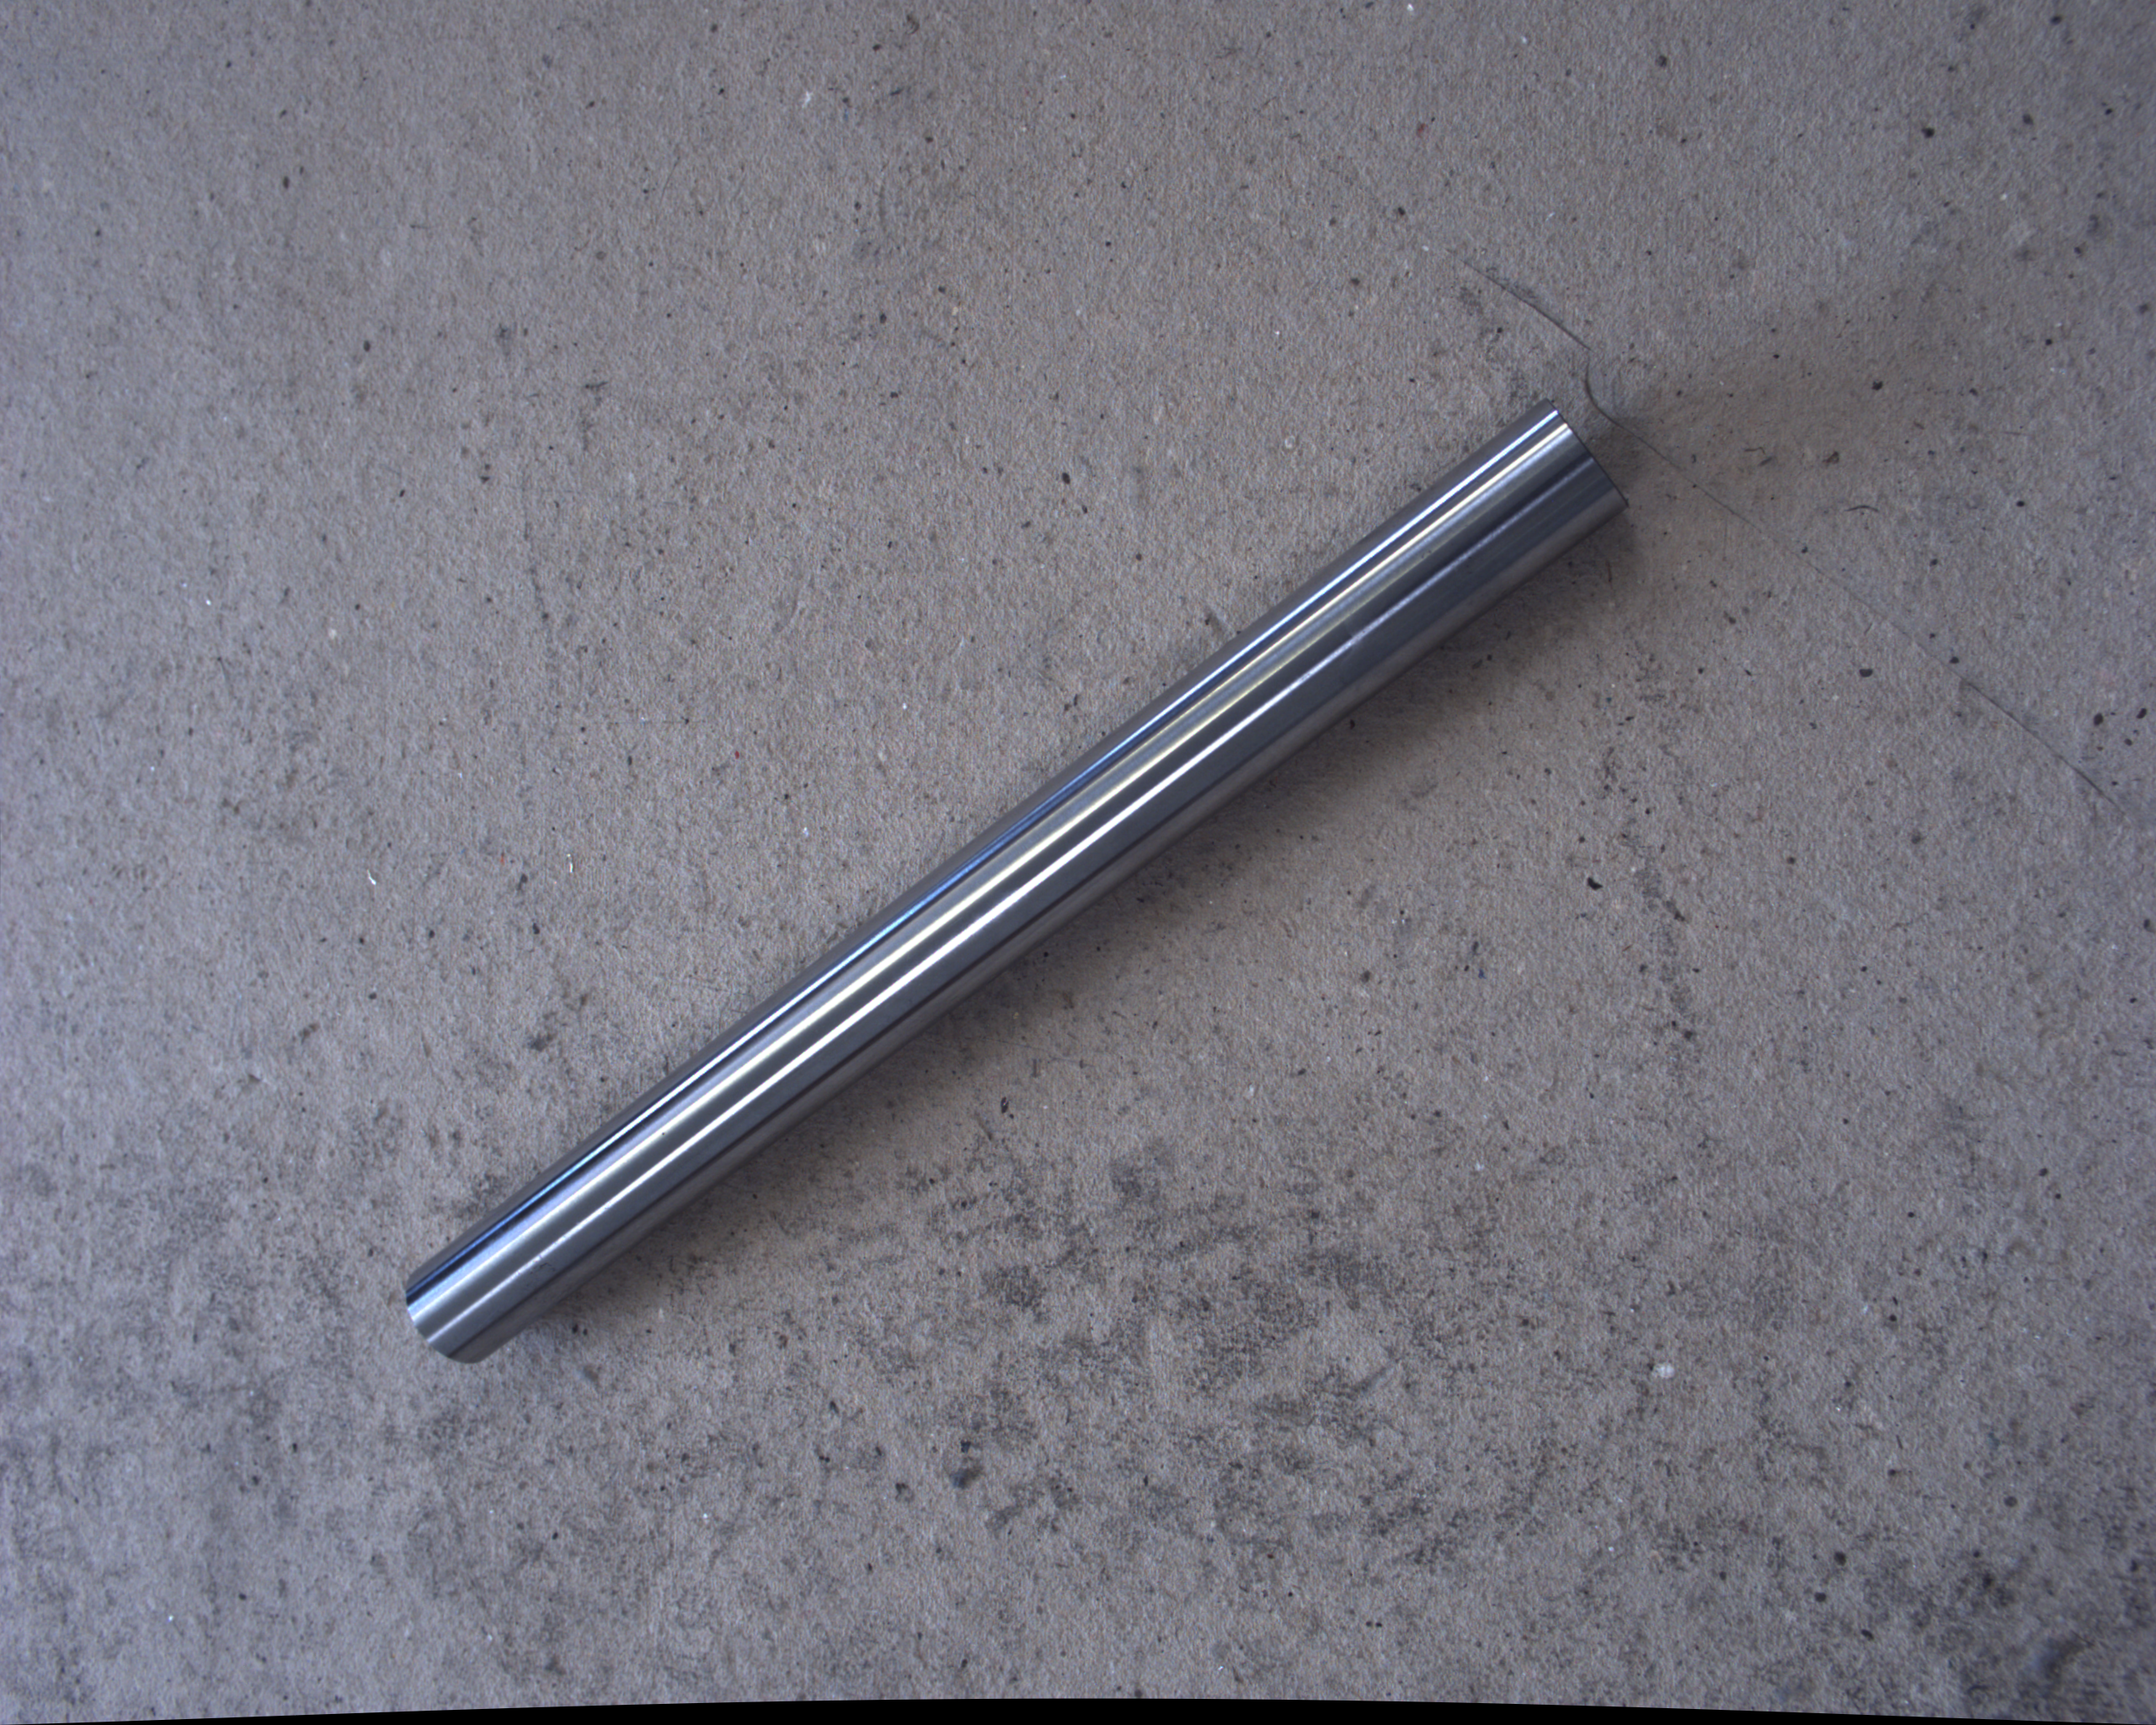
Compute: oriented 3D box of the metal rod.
[{"bbox_3d":[-0.023,0.013,0.419,0.300,0.025,0.025,-37,78,16],"label":"metal rod"}]
